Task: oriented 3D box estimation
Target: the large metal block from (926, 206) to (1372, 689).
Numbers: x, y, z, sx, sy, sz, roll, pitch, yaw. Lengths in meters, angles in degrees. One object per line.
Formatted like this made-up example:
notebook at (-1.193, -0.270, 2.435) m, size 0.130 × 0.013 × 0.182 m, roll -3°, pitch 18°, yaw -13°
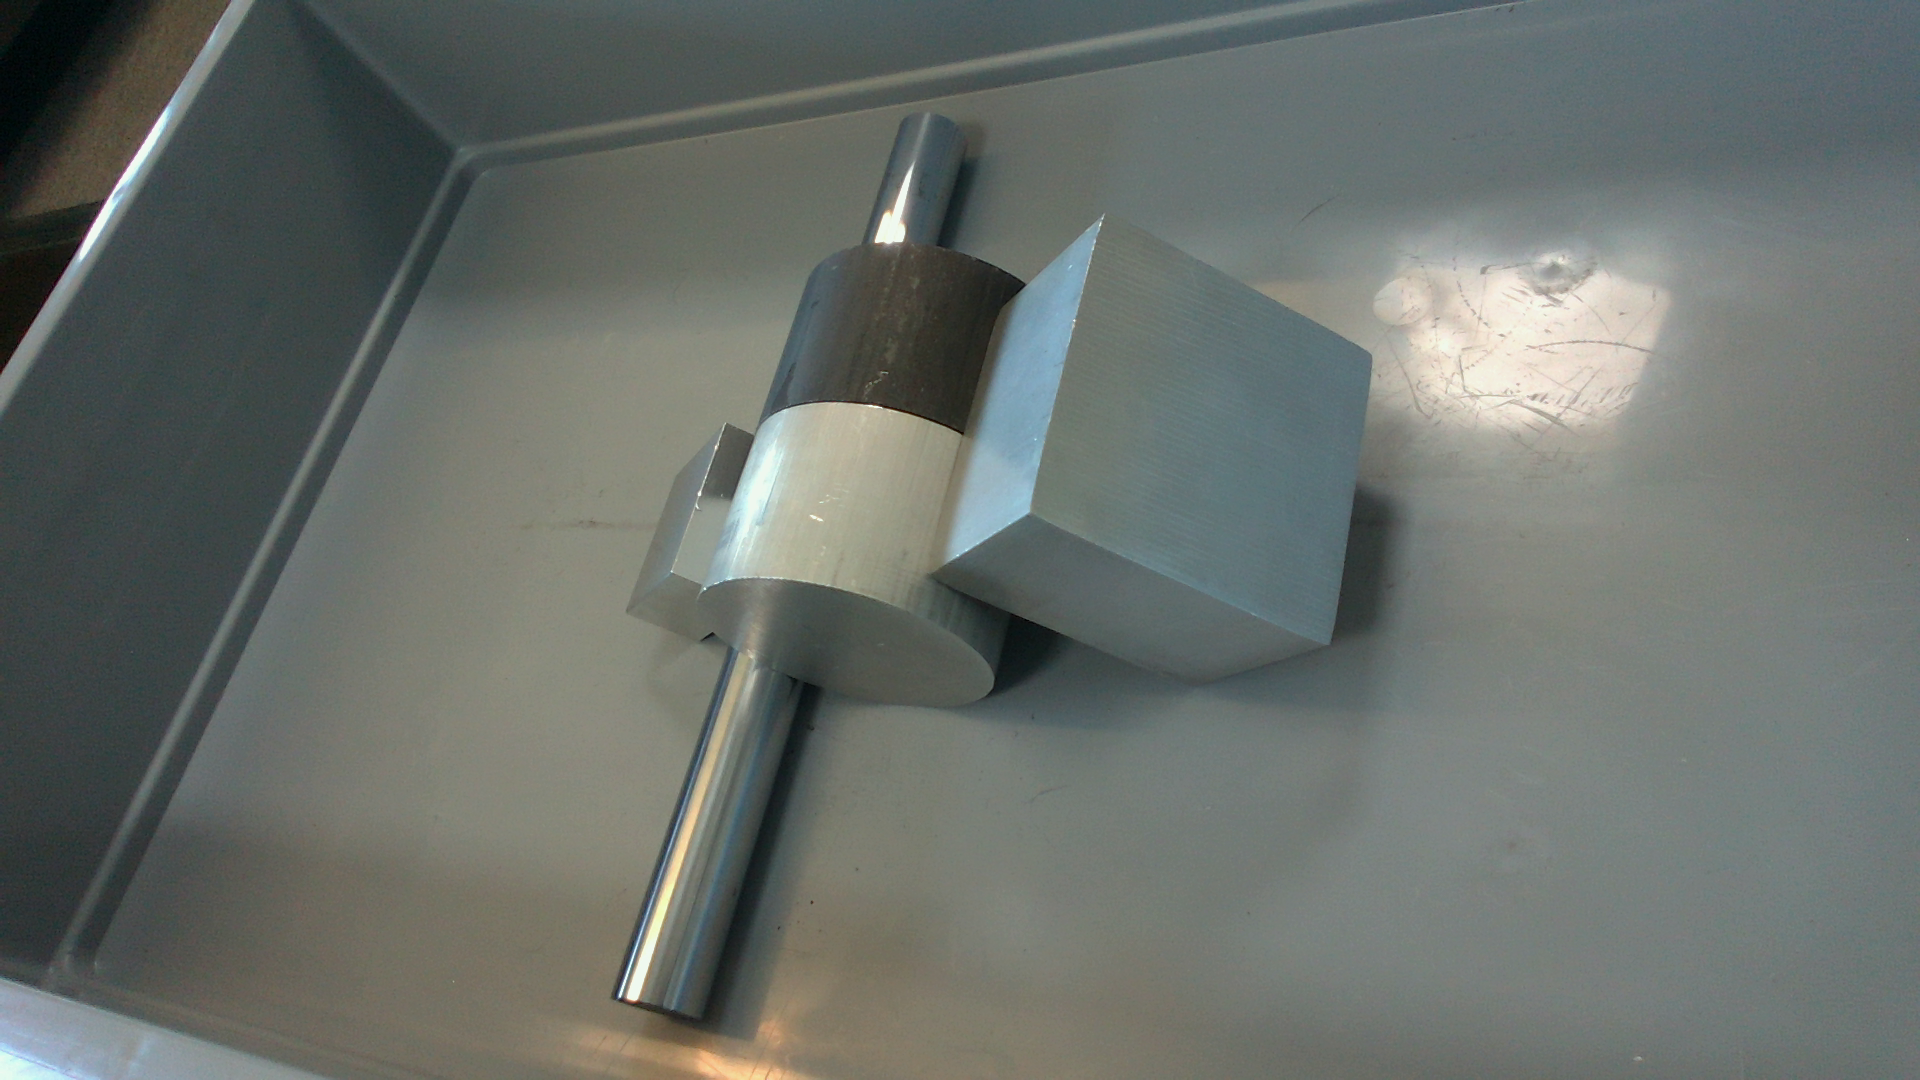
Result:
large metal block at (0.047, -0.019, 0.333) m, size 0.050 × 0.080 × 0.080 m, roll -33°, pitch 38°, yaw 59°

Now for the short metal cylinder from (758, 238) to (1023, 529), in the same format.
short metal cylinder at (-0.013, -0.039, 0.387) m, size 0.080 × 0.080 × 0.050 m, roll 0°, pitch 62°, yaw 29°

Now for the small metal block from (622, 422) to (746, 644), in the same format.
small metal block at (-0.076, -0.001, 0.419) m, size 0.050 × 0.025 × 0.050 m, roll -30°, pitch 40°, yaw 56°

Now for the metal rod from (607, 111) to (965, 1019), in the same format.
metal rod at (-0.045, -0.010, 0.422) m, size 0.025 × 0.025 × 0.300 m, roll 0°, pitch 62°, yaw 29°

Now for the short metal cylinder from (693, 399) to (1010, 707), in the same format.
short metal cylinder at (-0.024, 0.006, 0.366) m, size 0.080 × 0.080 × 0.050 m, roll 0°, pitch 62°, yaw 29°
